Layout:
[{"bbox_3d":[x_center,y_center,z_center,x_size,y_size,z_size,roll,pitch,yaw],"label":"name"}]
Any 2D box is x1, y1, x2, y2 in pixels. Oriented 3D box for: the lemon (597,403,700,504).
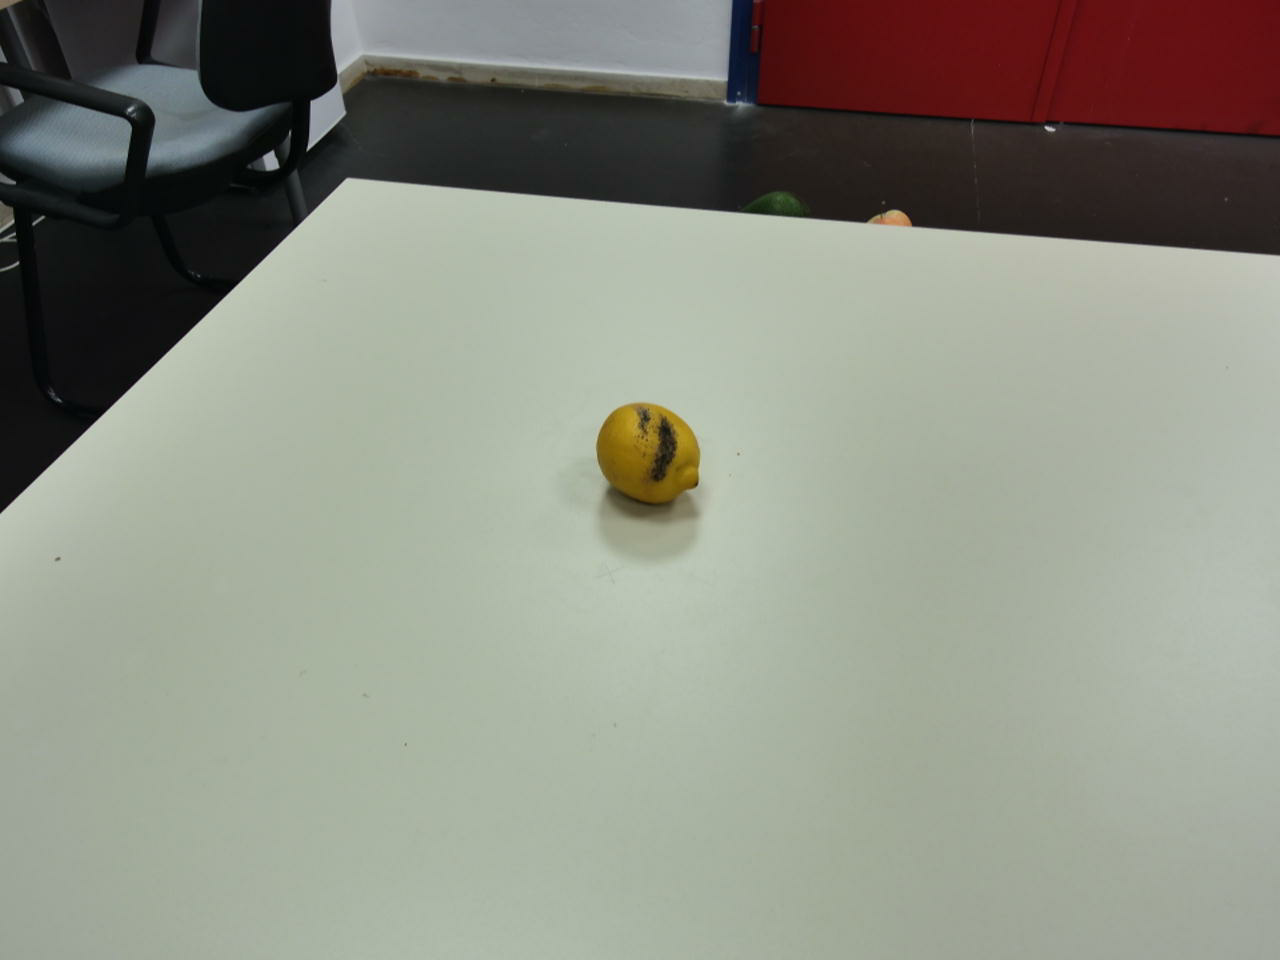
[{"bbox_3d":[0.005,-0.016,0.588,0.061,0.056,0.058,4,39,4],"label":"lemon"}]
